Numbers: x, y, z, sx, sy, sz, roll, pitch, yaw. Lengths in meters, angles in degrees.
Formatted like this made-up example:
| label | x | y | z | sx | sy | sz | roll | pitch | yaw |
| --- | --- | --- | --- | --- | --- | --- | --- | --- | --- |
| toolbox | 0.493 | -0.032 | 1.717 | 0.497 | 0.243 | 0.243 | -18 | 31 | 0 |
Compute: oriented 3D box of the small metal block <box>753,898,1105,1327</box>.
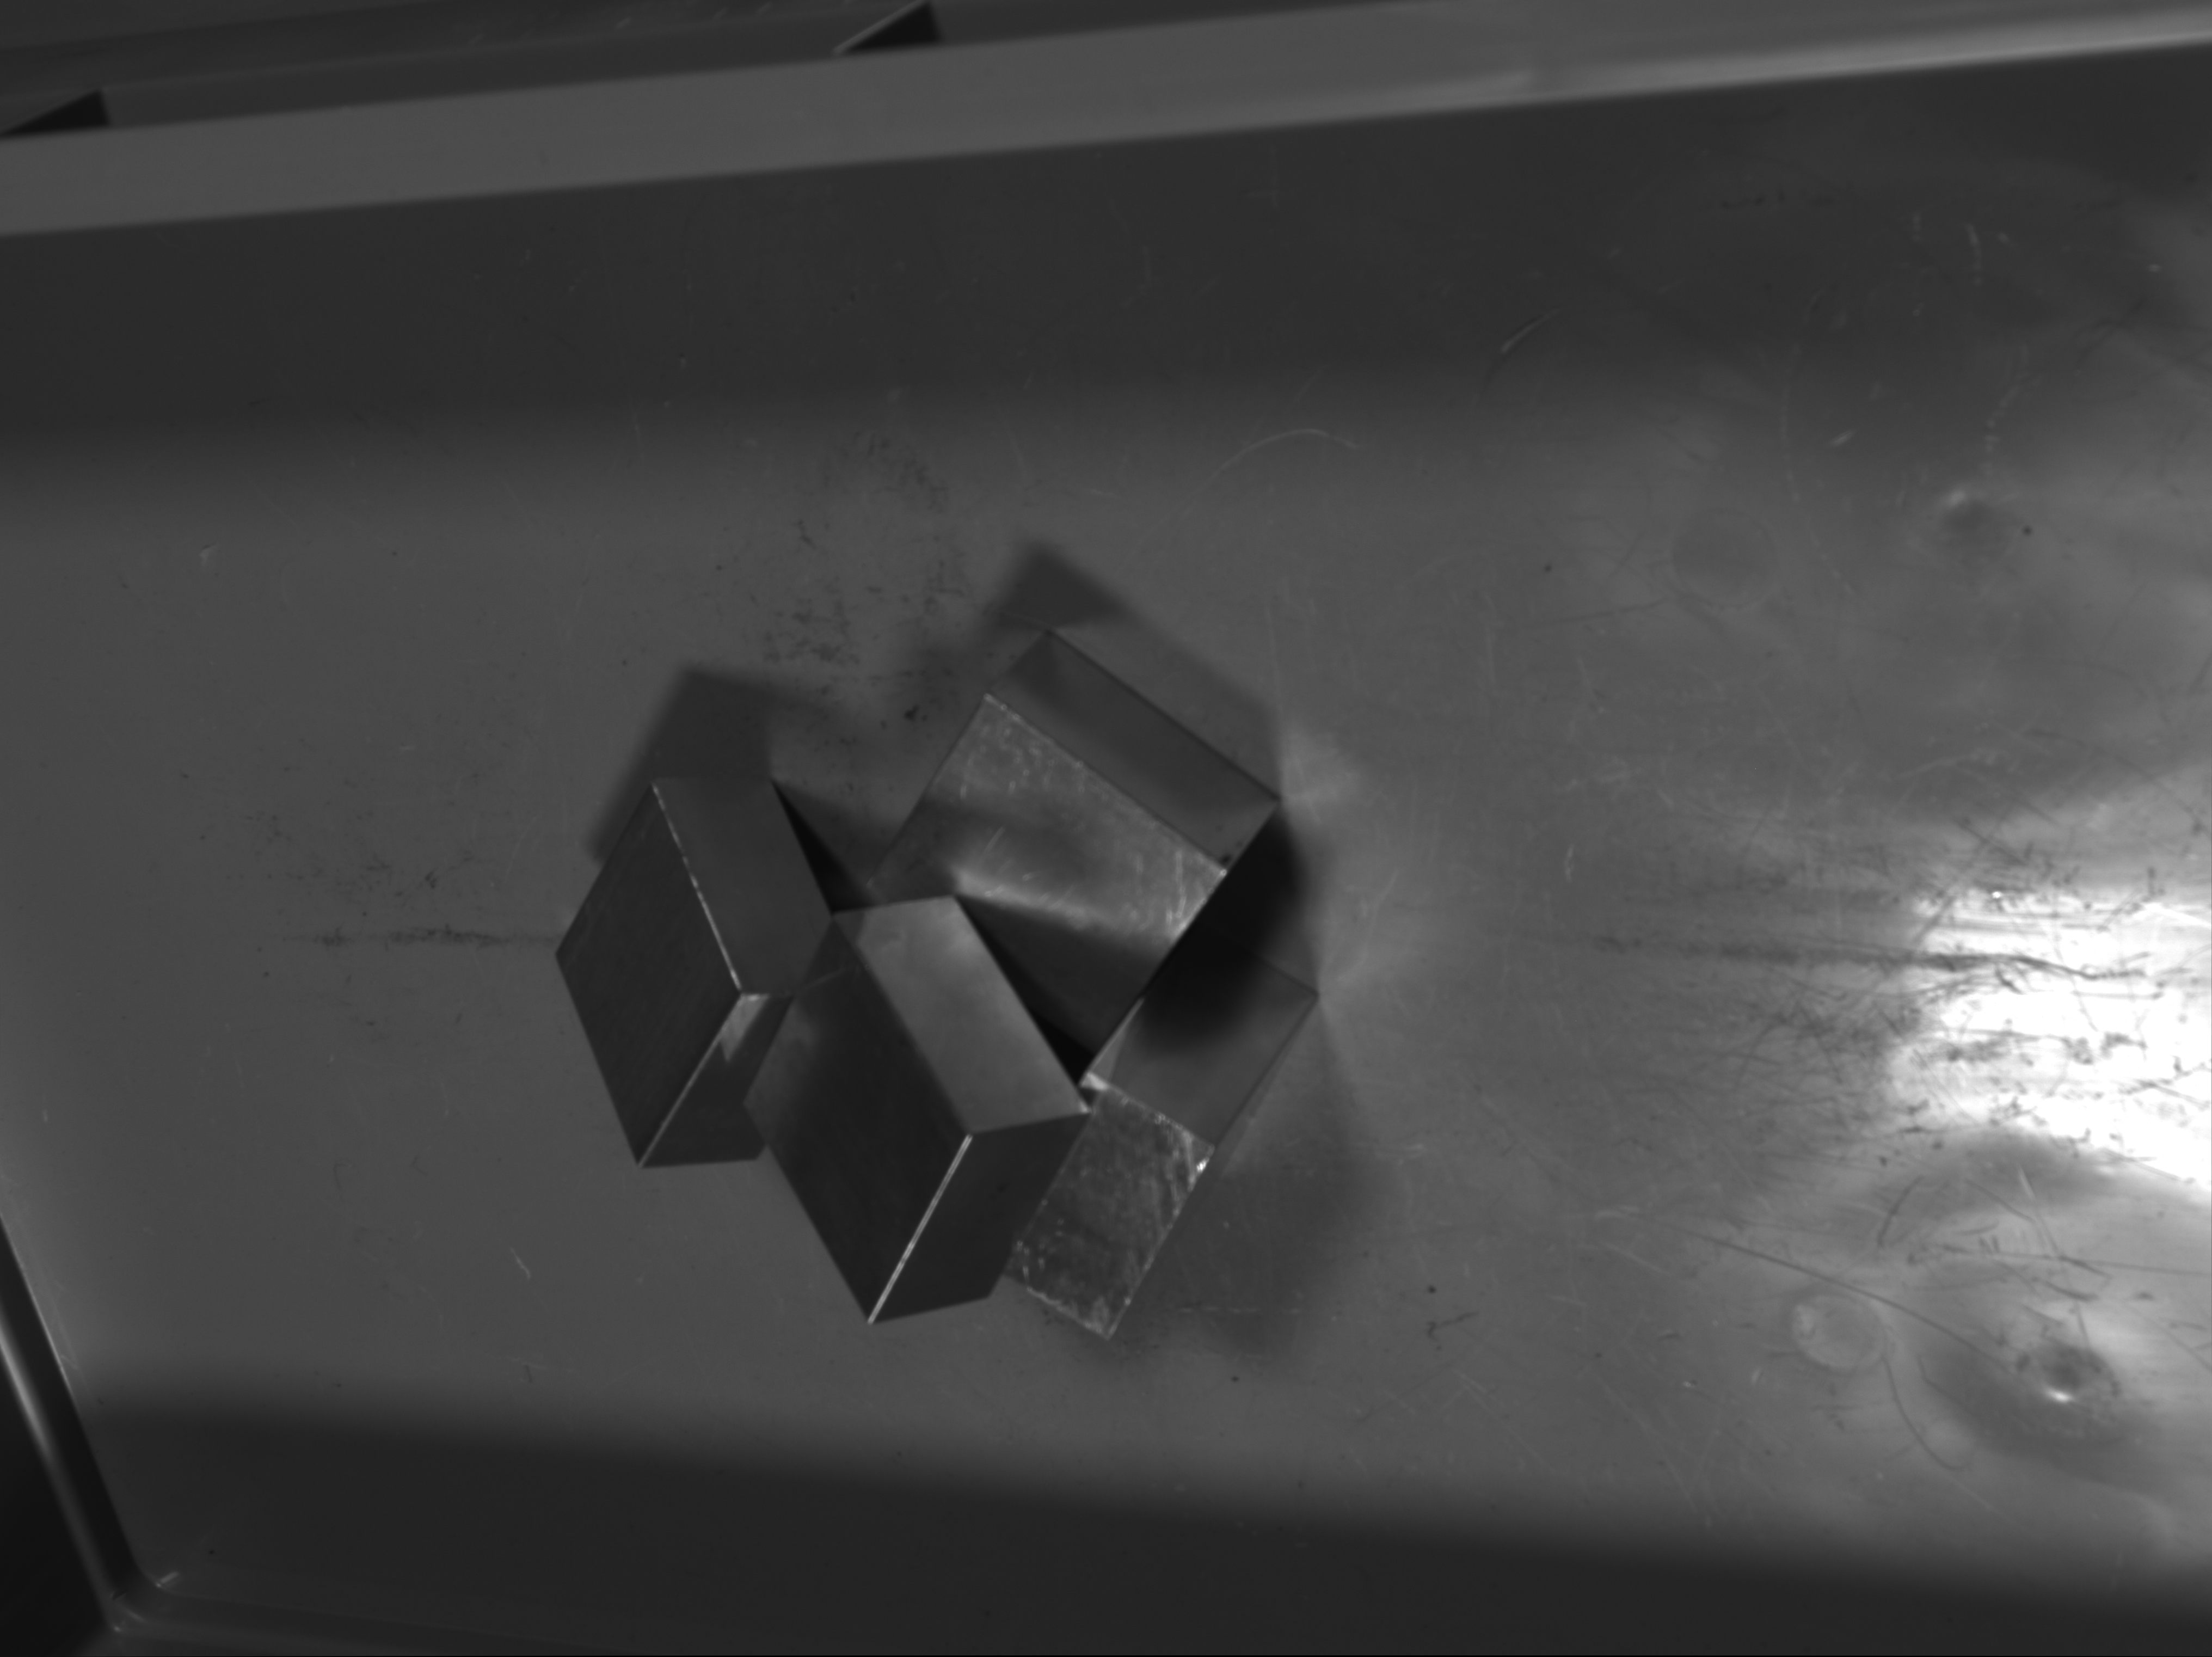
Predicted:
| label | x | y | z | sx | sy | sz | roll | pitch | yaw |
| --- | --- | --- | --- | --- | --- | --- | --- | --- | --- |
| small metal block | -0.031 | 0.048 | 0.627 | 0.050 | 0.025 | 0.050 | 56 | 136 | 31 |

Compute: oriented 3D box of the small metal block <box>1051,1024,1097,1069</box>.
| label | x | y | z | sx | sy | sz | roll | pitch | yaw |
| --- | --- | --- | --- | --- | --- | --- | --- | --- | --- |
| small metal block | -0.028 | 0.045 | 0.670 | 0.050 | 0.025 | 0.050 | 36 | 128 | 3 |

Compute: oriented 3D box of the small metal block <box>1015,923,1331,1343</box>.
| label | x | y | z | sx | sy | sz | roll | pitch | yaw |
| --- | --- | --- | --- | --- | --- | --- | --- | --- | --- |
| small metal block | 0.010 | 0.053 | 0.640 | 0.025 | 0.050 | 0.050 | 31 | 127 | 7 |

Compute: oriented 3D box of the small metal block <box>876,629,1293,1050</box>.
| label | x | y | z | sx | sy | sz | roll | pitch | yaw |
| --- | --- | --- | --- | --- | --- | --- | --- | --- | --- |
| small metal block | -0.004 | 0.003 | 0.633 | 0.050 | 0.025 | 0.050 | 36 | 128 | 3 |

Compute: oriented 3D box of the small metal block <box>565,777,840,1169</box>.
| label | x | y | z | sx | sy | sz | roll | pitch | yaw |
| --- | --- | --- | --- | --- | --- | --- | --- | --- | --- |
| small metal block | -0.071 | 0.026 | 0.665 | 0.050 | 0.025 | 0.050 | -56 | 48 | 38 |
